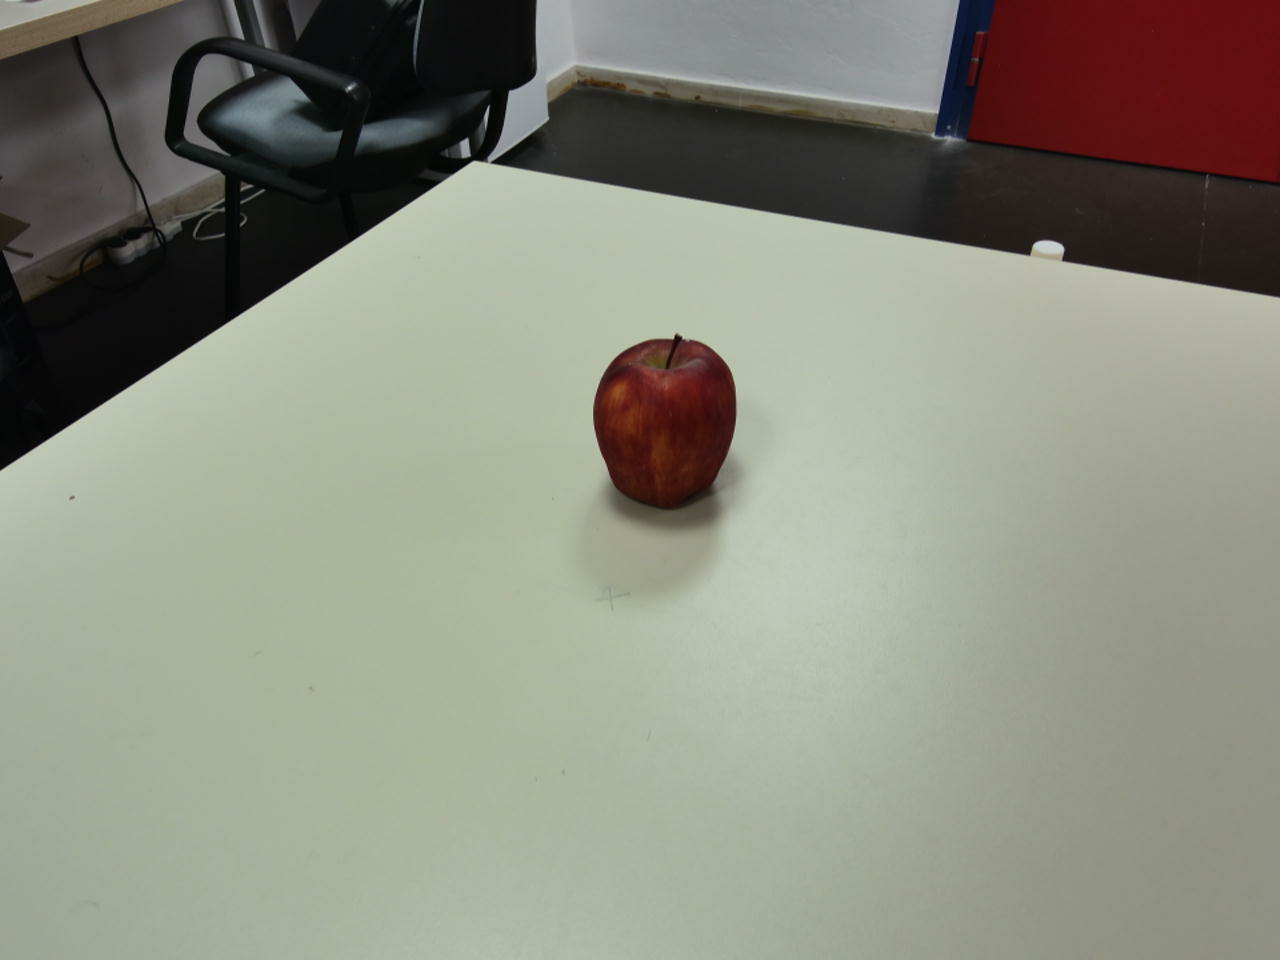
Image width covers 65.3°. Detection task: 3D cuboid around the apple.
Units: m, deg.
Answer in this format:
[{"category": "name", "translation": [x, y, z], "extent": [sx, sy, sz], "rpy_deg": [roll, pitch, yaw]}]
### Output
[{"category": "apple", "translation": [0.014, -0.037, 0.524], "extent": [0.083, 0.090, 0.083], "rpy_deg": [0, 38, 0]}]
